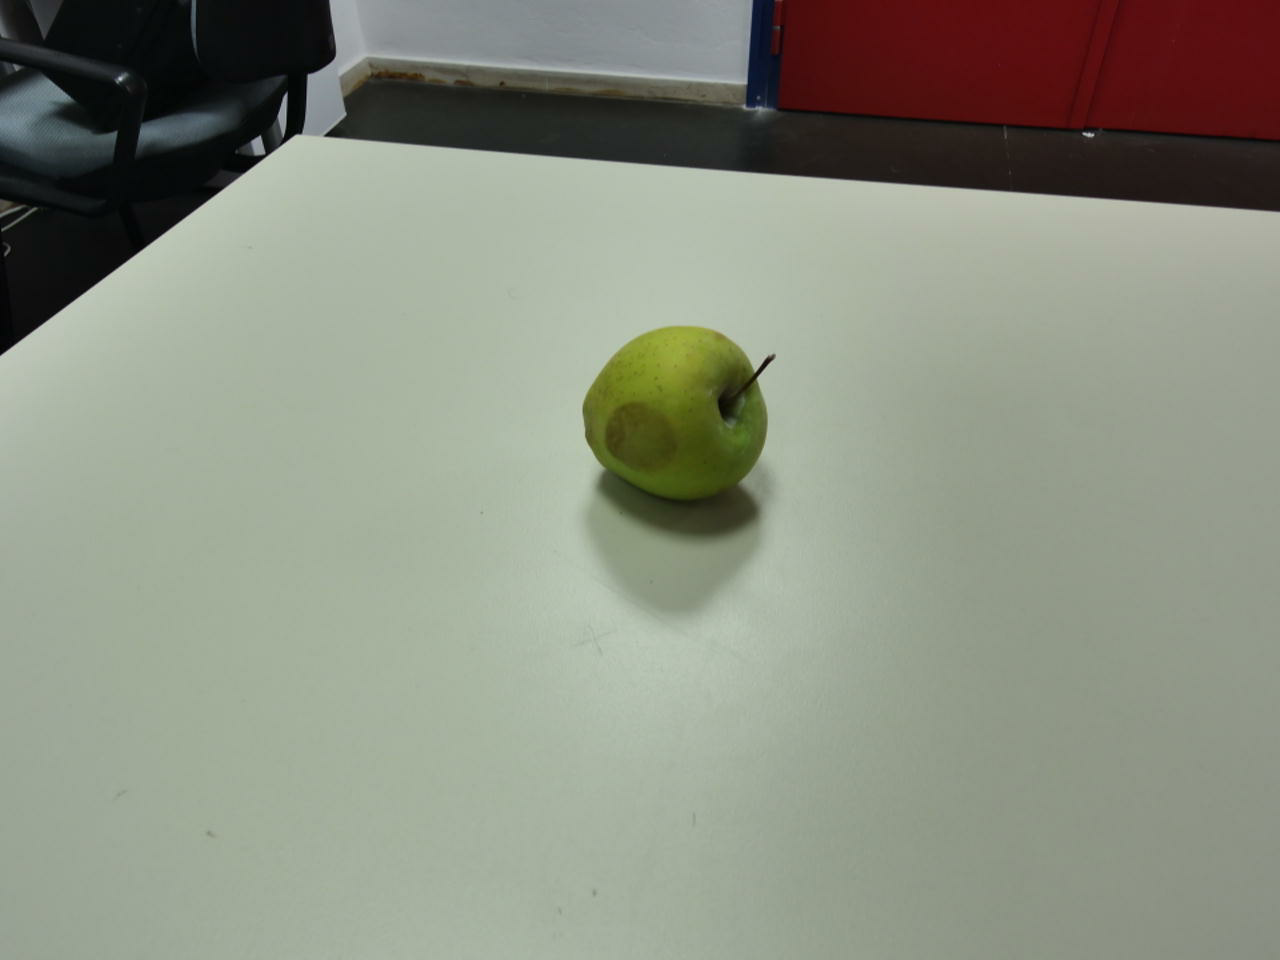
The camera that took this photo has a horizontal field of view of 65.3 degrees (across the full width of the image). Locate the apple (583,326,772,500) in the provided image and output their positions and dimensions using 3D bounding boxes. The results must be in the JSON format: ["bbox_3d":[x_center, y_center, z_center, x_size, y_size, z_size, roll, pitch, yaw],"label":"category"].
[{"bbox_3d":[0.016,-0.030,0.428,0.072,0.075,0.077,-21,43,-25],"label":"apple"}]
